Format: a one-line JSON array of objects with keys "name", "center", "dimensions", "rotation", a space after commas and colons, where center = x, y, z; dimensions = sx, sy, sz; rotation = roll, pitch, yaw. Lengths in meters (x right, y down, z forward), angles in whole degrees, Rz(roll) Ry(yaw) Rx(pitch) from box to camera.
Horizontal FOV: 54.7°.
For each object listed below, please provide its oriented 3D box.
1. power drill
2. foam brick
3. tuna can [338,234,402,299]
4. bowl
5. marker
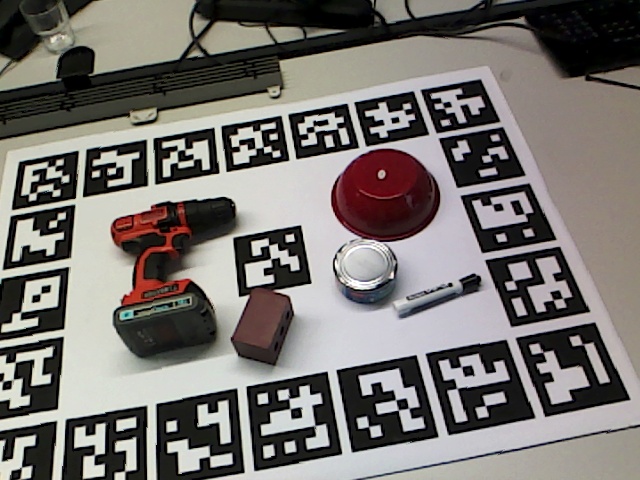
[{"name": "power drill", "center": [-0.197, 0.043, 0.853], "dimensions": [0.184, 0.057, 0.188], "rotation": [-11, 53, -5]}, {"name": "foam brick", "center": [-0.064, 0.113, 0.796], "dimensions": [0.051, 0.052, 0.078], "rotation": [9, 58, 11]}, {"name": "tuna can", "center": [0.067, 0.036, 0.836], "dimensions": [0.086, 0.033, 0.086], "rotation": [-2, 55, 2]}, {"name": "bowl", "center": [0.092, -0.078, 0.911], "dimensions": [0.162, 0.055, 0.162], "rotation": [-6, 49, 7]}, {"name": "marker", "center": [0.161, 0.065, 0.813], "dimensions": [0.121, 0.019, 0.020], "rotation": [-19, 57, -7]}]
